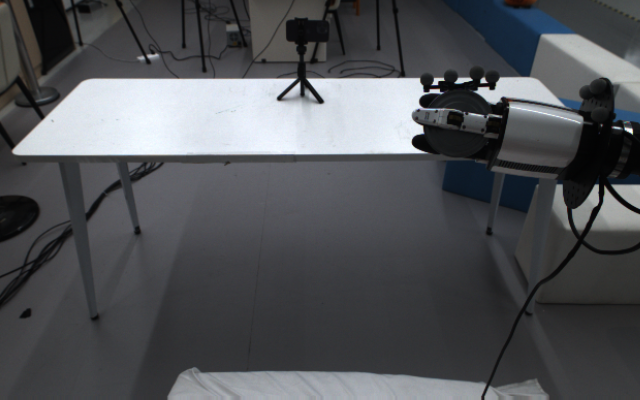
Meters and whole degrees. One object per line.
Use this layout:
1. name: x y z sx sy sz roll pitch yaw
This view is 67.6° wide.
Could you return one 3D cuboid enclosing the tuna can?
1. tuna can: 0.178 -0.098 0.623 0.085 0.085 0.034 12 8 15
